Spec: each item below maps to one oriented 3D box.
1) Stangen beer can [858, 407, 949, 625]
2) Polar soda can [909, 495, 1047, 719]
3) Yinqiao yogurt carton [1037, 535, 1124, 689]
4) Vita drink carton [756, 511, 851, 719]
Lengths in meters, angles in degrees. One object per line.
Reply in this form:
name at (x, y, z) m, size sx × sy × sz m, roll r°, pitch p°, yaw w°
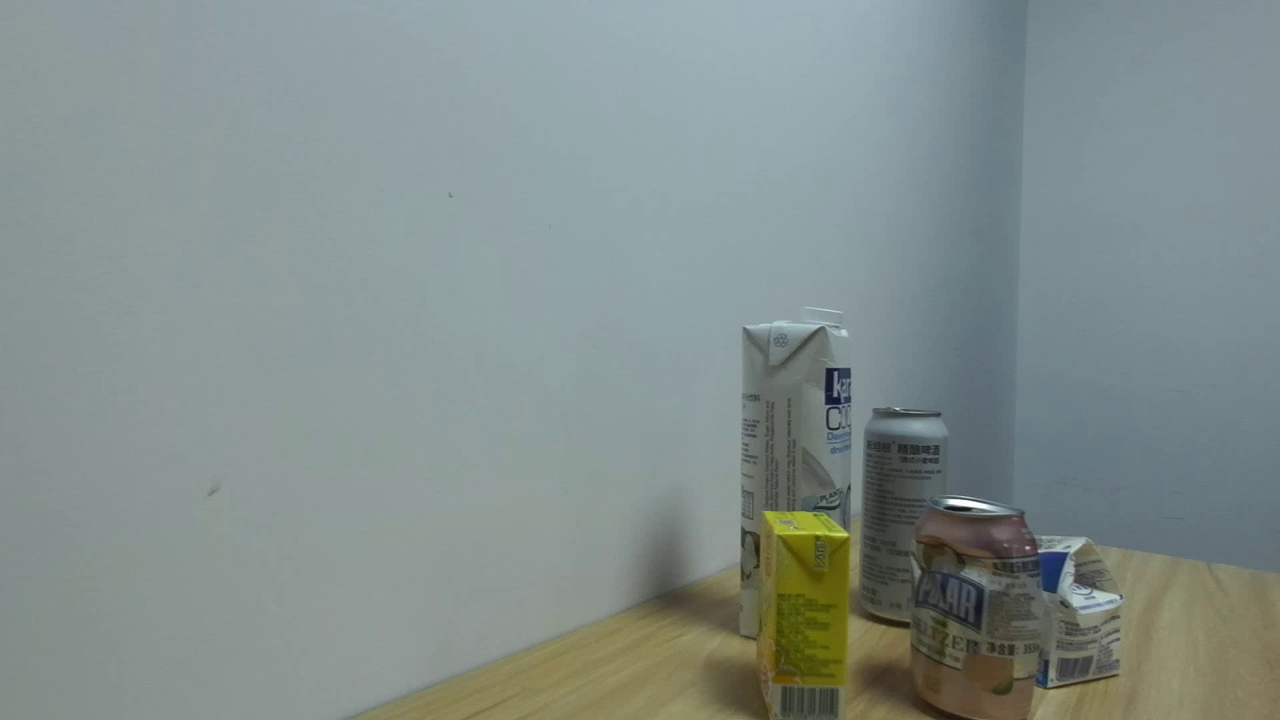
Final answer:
Stangen beer can at (0.216, 0.125, 0.581) m, size 0.067 × 0.171 × 0.067 m, roll 1°, pitch 2°, yaw 0°
Polar soda can at (0.200, 0.148, 0.427) m, size 0.067 × 0.121 × 0.074 m, roll 3°, pitch -1°, yaw 14°
Yinqiao yogurt carton at (0.280, 0.164, 0.490) m, size 0.077 × 0.093 × 0.083 m, roll 2°, pitch -1°, yaw -22°
Vita drink carton at (0.096, 0.150, 0.422) m, size 0.043 × 0.109 × 0.066 m, roll 2°, pitch 0°, yaw 2°
